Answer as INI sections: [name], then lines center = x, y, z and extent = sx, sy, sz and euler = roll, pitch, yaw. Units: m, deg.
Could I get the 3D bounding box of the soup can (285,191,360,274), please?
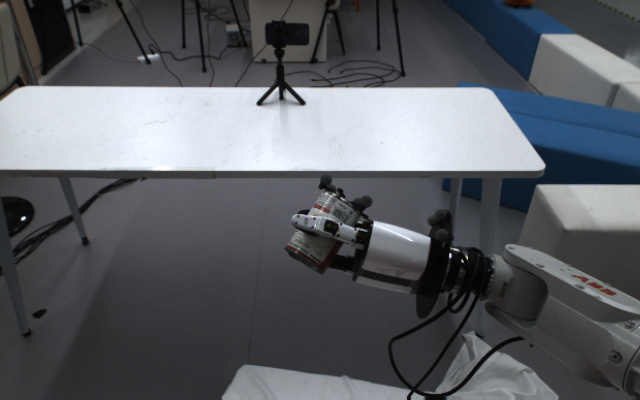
[soup can]
center = 0.005, 0.046, 0.696
extent = 0.067, 0.067, 0.101
euler = 26, 76, 31
